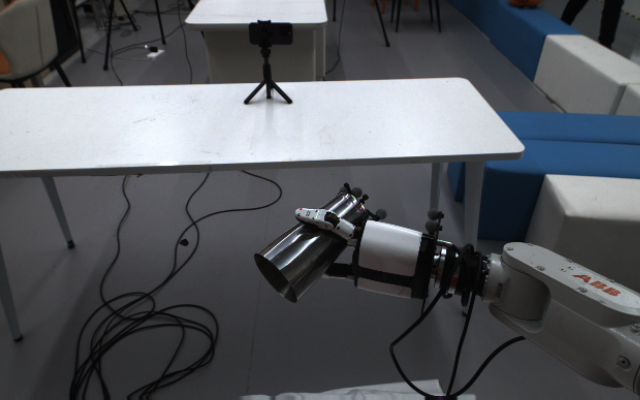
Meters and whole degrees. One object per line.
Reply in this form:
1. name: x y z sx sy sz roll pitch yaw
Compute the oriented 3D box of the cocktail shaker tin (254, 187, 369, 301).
1. cocktail shaker tin: -0.006 0.059 0.731 0.170 0.093 0.093 -38 50 -24
